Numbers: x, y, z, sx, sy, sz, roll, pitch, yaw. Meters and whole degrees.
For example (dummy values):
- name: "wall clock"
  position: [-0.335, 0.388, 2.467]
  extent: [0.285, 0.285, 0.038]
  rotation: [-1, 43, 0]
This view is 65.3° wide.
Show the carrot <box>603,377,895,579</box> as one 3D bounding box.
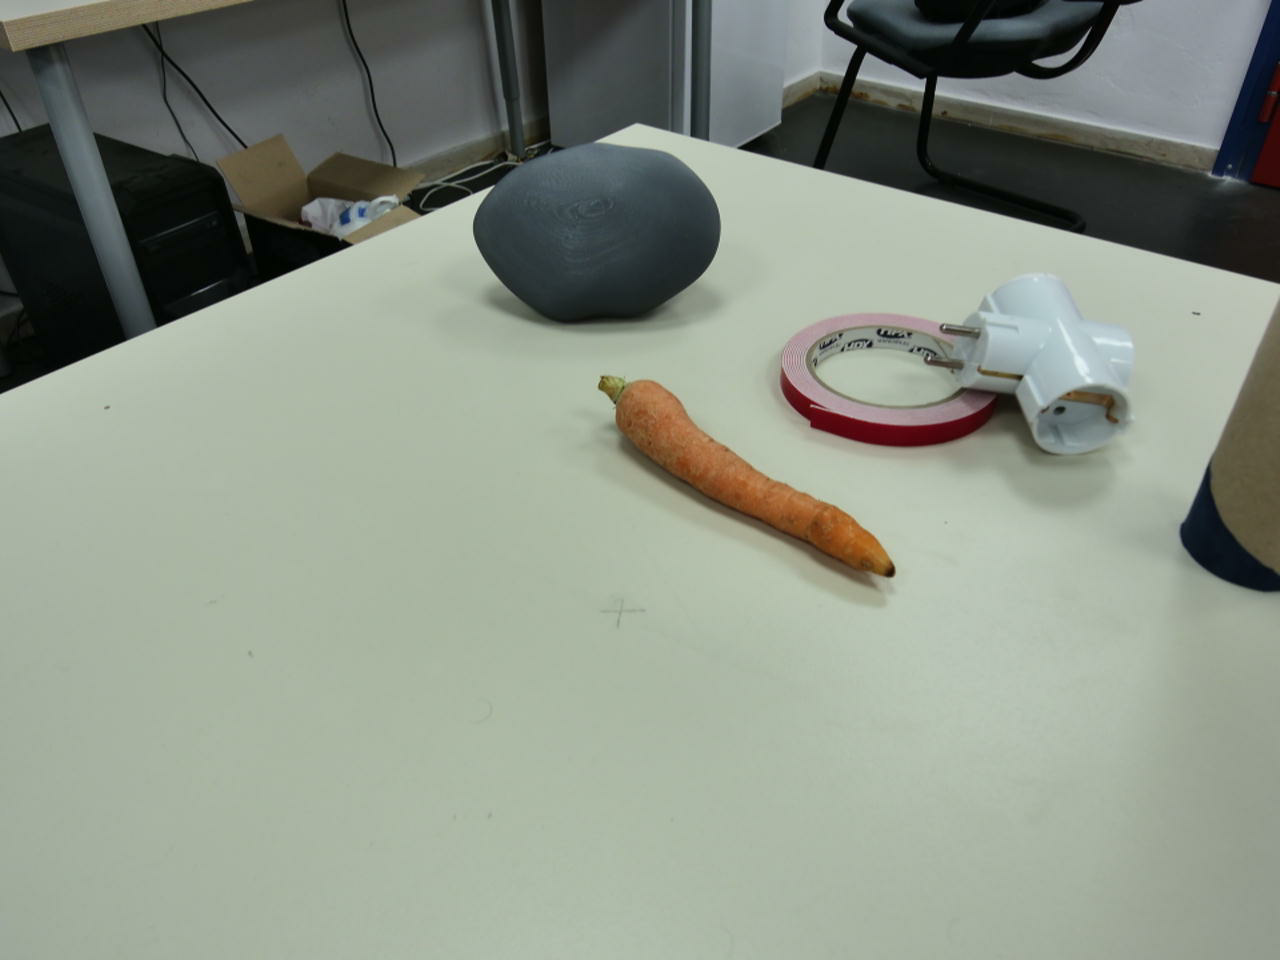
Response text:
- name: "carrot"
  position: [0.042, -0.004, 0.447]
  extent: [0.030, 0.032, 0.173]
  rotation: [-27, 44, -31]
